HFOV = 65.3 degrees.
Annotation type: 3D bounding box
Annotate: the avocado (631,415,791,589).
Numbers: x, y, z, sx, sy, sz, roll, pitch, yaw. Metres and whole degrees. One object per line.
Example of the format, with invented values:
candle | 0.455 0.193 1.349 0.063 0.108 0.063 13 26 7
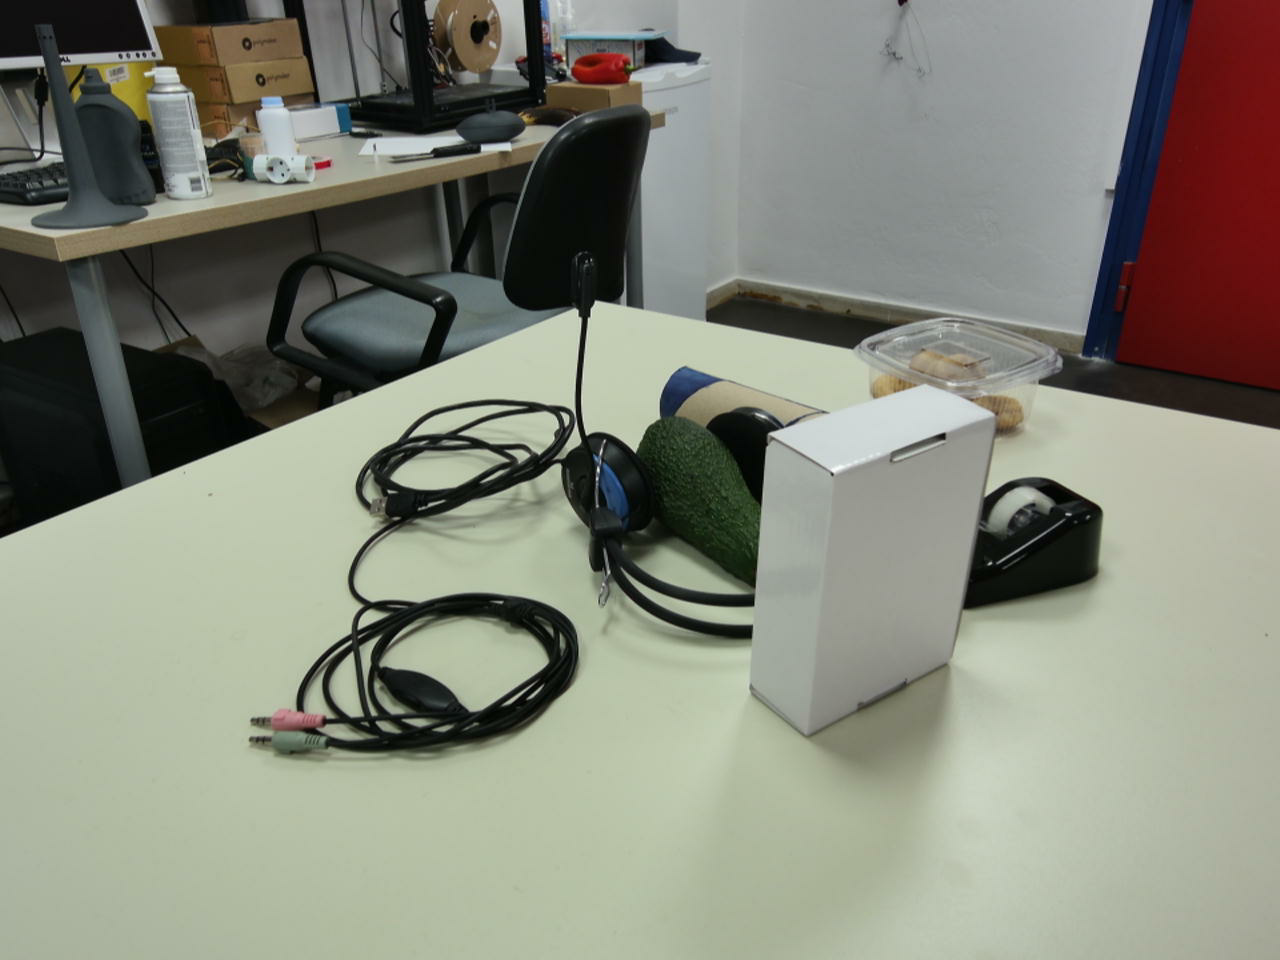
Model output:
avocado | 0.046 0.007 0.590 0.063 0.067 0.141 -19 31 -34
